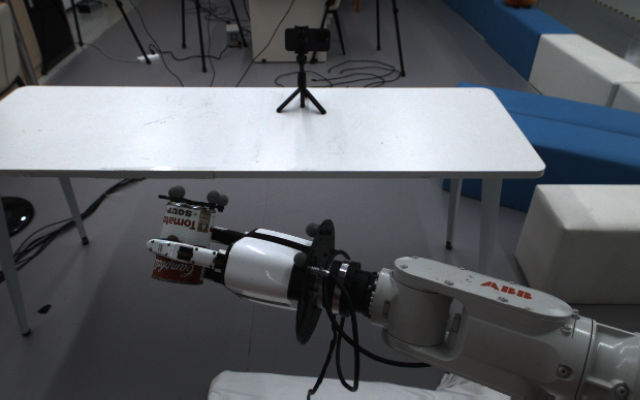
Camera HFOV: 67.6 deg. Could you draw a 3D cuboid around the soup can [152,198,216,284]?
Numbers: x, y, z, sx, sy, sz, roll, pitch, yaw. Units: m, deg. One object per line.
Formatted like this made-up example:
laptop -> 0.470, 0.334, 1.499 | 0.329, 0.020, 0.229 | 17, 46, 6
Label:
soup can -> -0.181, 0.060, 0.650 | 0.067, 0.101, 0.067 | 9, -5, 1
